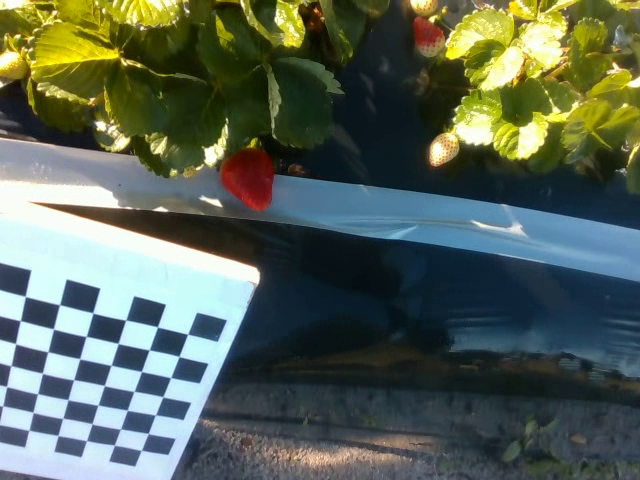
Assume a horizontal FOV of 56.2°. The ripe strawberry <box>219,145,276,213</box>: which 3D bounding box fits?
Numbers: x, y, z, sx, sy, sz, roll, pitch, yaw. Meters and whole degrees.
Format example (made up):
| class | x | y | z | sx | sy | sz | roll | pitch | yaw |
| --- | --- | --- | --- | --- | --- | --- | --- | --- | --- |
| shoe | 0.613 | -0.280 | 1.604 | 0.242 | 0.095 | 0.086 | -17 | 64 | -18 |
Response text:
| class | x | y | z | sx | sy | sz | roll | pitch | yaw |
| --- | --- | --- | --- | --- | --- | --- | --- | --- | --- |
| ripe strawberry | -0.054 | -0.046 | 0.454 | 0.045 | 0.064 | 0.048 | -39 | -34 | 21 |
